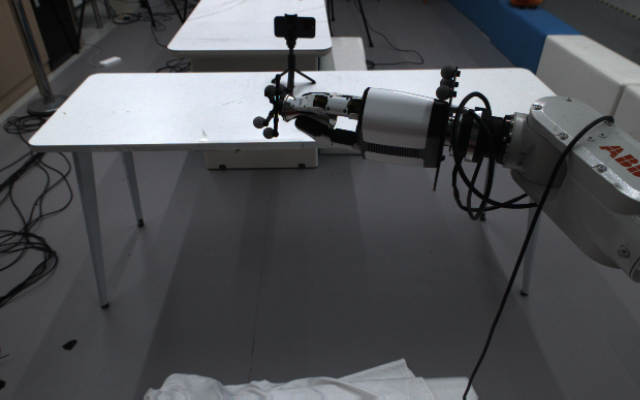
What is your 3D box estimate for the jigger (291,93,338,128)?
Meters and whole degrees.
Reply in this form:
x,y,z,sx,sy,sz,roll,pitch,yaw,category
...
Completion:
x,y,z,sx,sy,sz,roll,pitch,yaw,category
-0.008,-0.129,0.672,0.071,0.043,0.043,10,35,16,jigger
